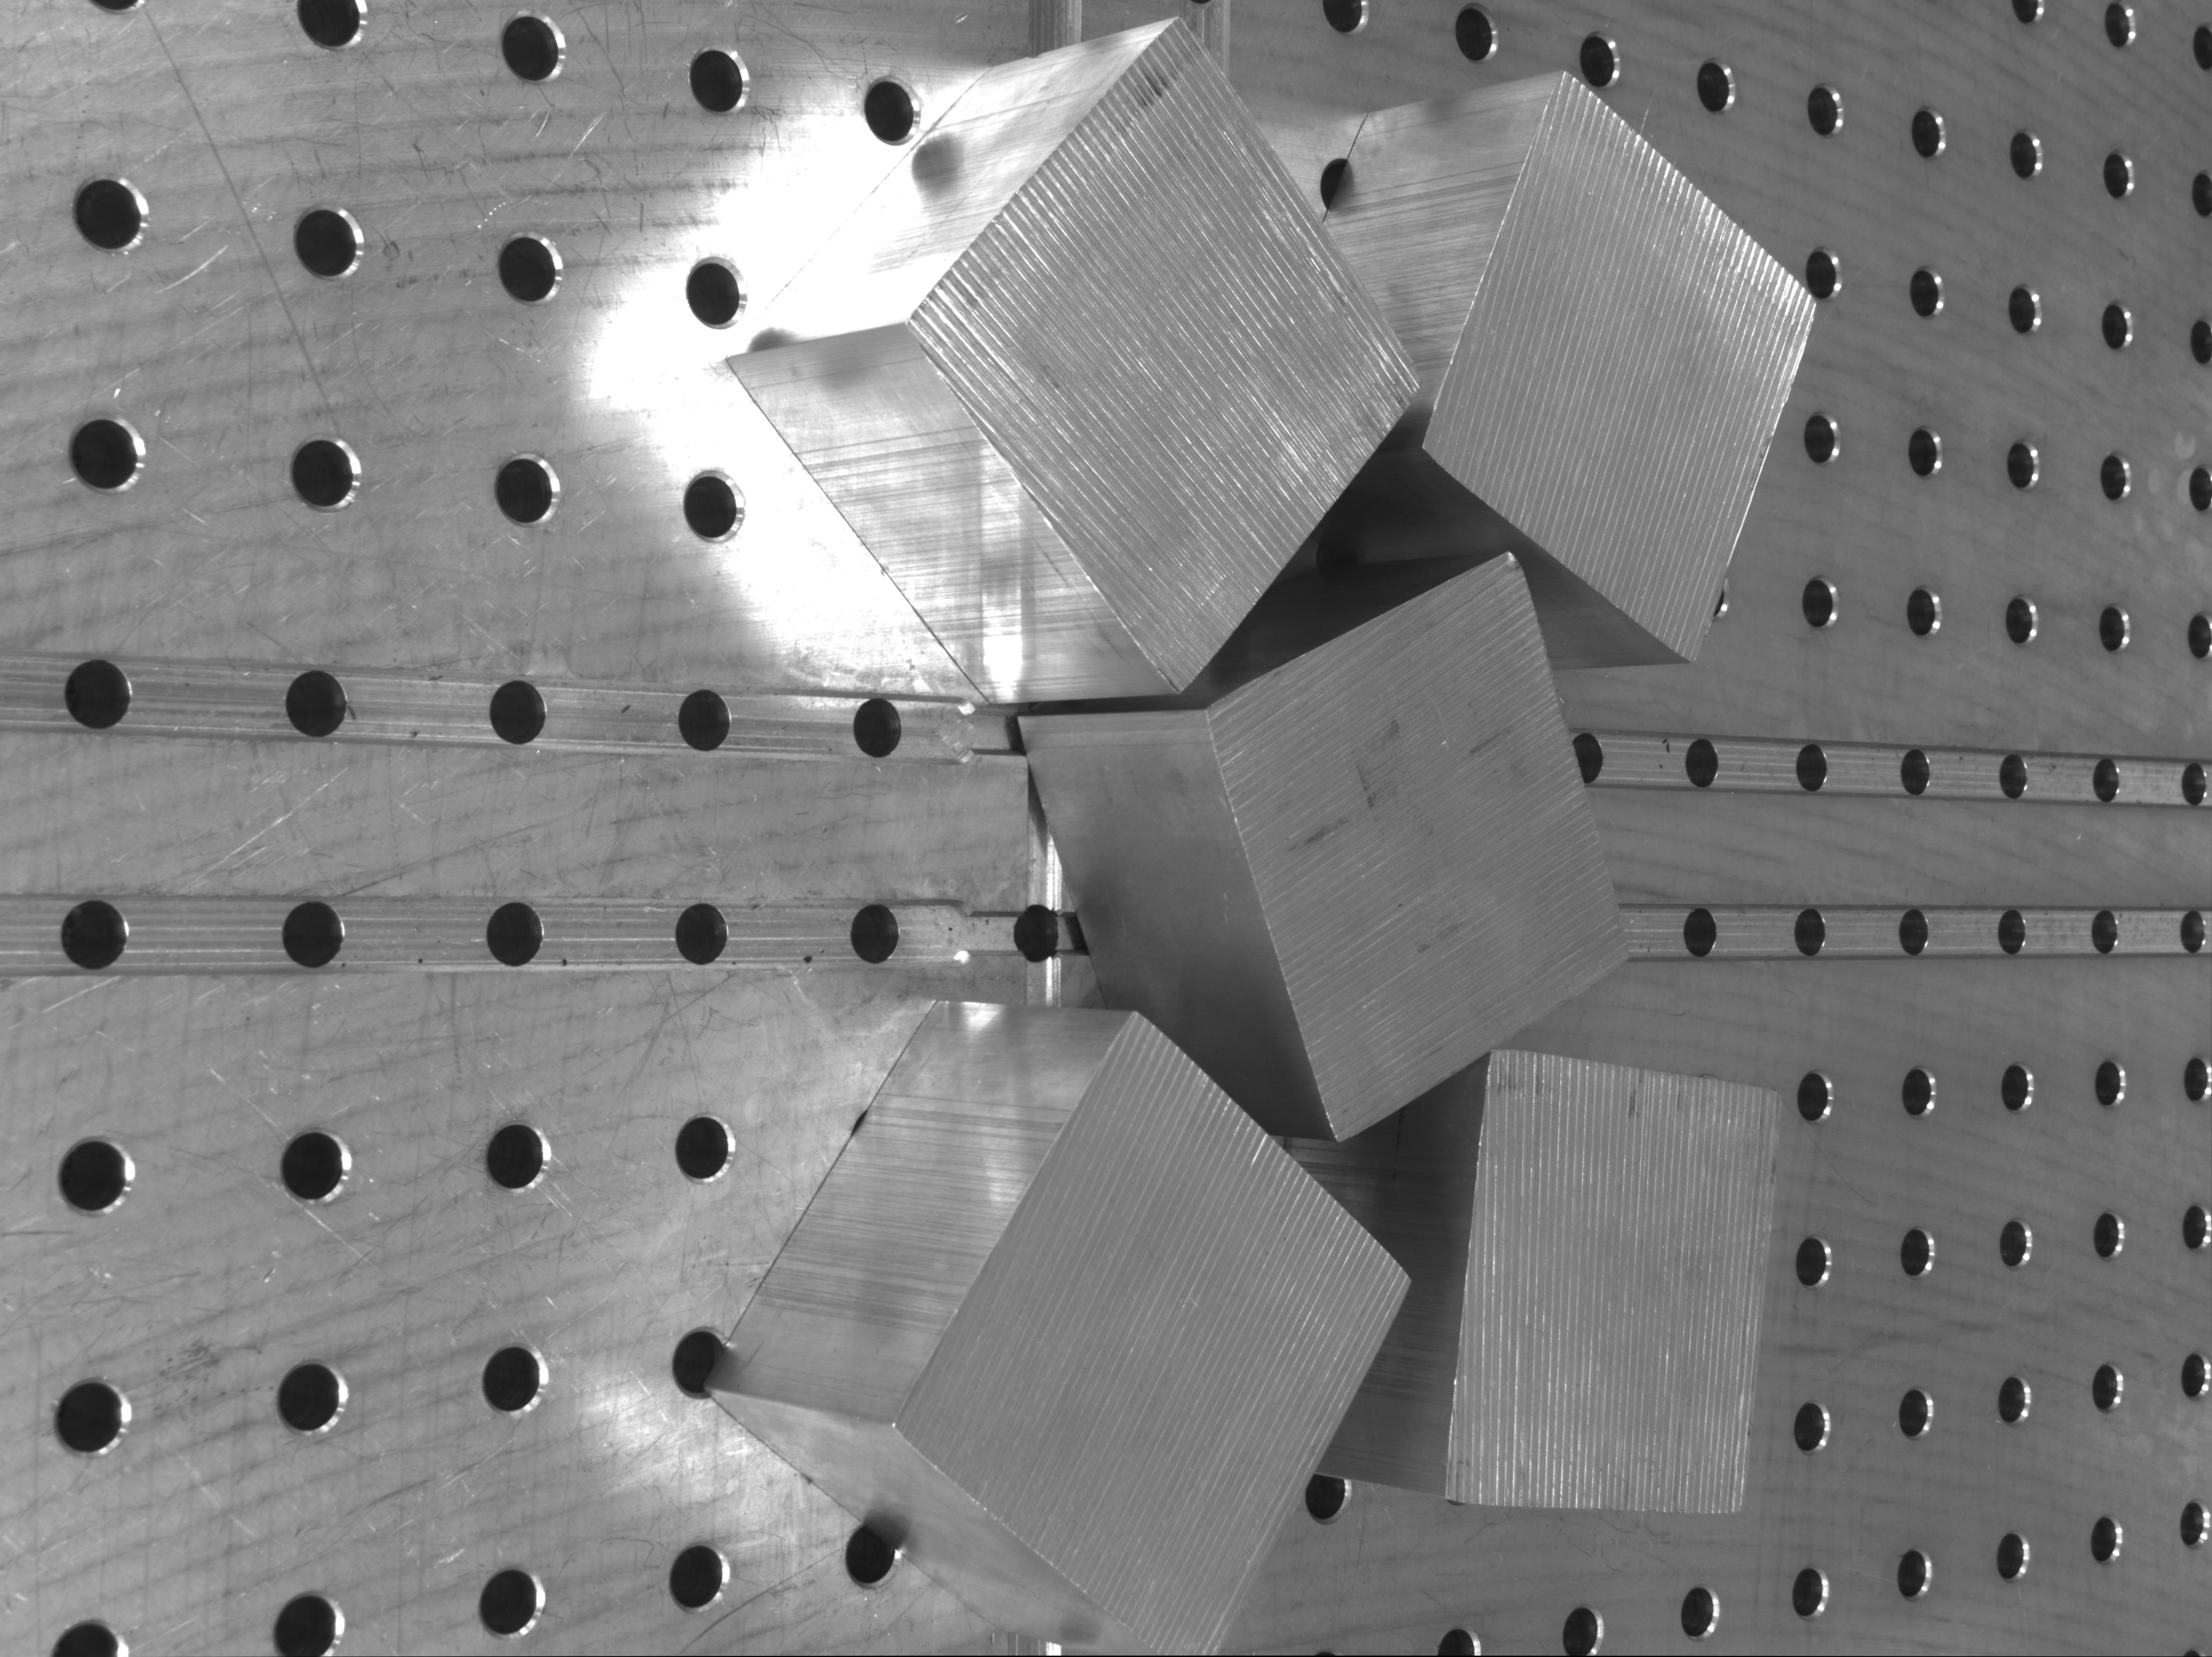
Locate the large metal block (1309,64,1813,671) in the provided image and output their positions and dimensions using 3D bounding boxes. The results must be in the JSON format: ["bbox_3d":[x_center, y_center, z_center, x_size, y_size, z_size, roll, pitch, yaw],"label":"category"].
[{"bbox_3d":[0.079,-0.084,0.687,0.080,0.050,0.080,33,69,-38],"label":"large metal block"}]

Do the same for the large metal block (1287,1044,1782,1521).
[{"bbox_3d":[0.077,0.084,0.687,0.080,0.050,0.080,12,82,-39],"label":"large metal block"}]

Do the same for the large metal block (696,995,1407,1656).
[{"bbox_3d":[-0.008,0.084,0.615,0.080,0.050,0.080,45,63,-30],"label":"large metal block"}]

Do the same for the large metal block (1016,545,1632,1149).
[{"bbox_3d":[0.040,0.002,0.655,0.080,0.050,0.080,-28,108,-36],"label":"large metal block"}]

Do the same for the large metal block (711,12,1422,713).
[{"bbox_3d":[-0.005,-0.077,0.619,0.080,0.050,0.080,-51,119,-27],"label":"large metal block"}]
